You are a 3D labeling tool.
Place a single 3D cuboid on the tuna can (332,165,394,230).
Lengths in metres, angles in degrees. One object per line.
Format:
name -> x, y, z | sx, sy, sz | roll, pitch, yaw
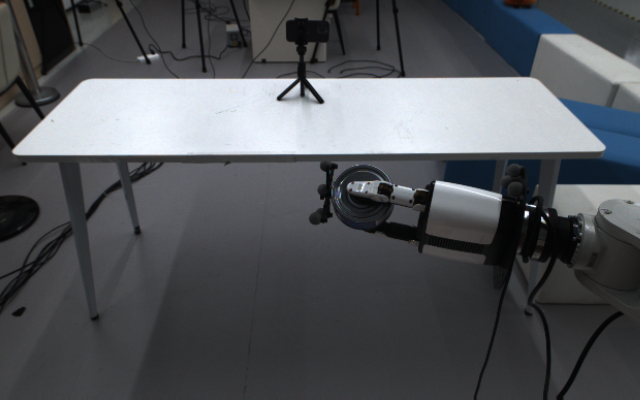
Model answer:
tuna can -> 0.061, -0.002, 0.654 | 0.085, 0.034, 0.085 | -2, 69, 6
